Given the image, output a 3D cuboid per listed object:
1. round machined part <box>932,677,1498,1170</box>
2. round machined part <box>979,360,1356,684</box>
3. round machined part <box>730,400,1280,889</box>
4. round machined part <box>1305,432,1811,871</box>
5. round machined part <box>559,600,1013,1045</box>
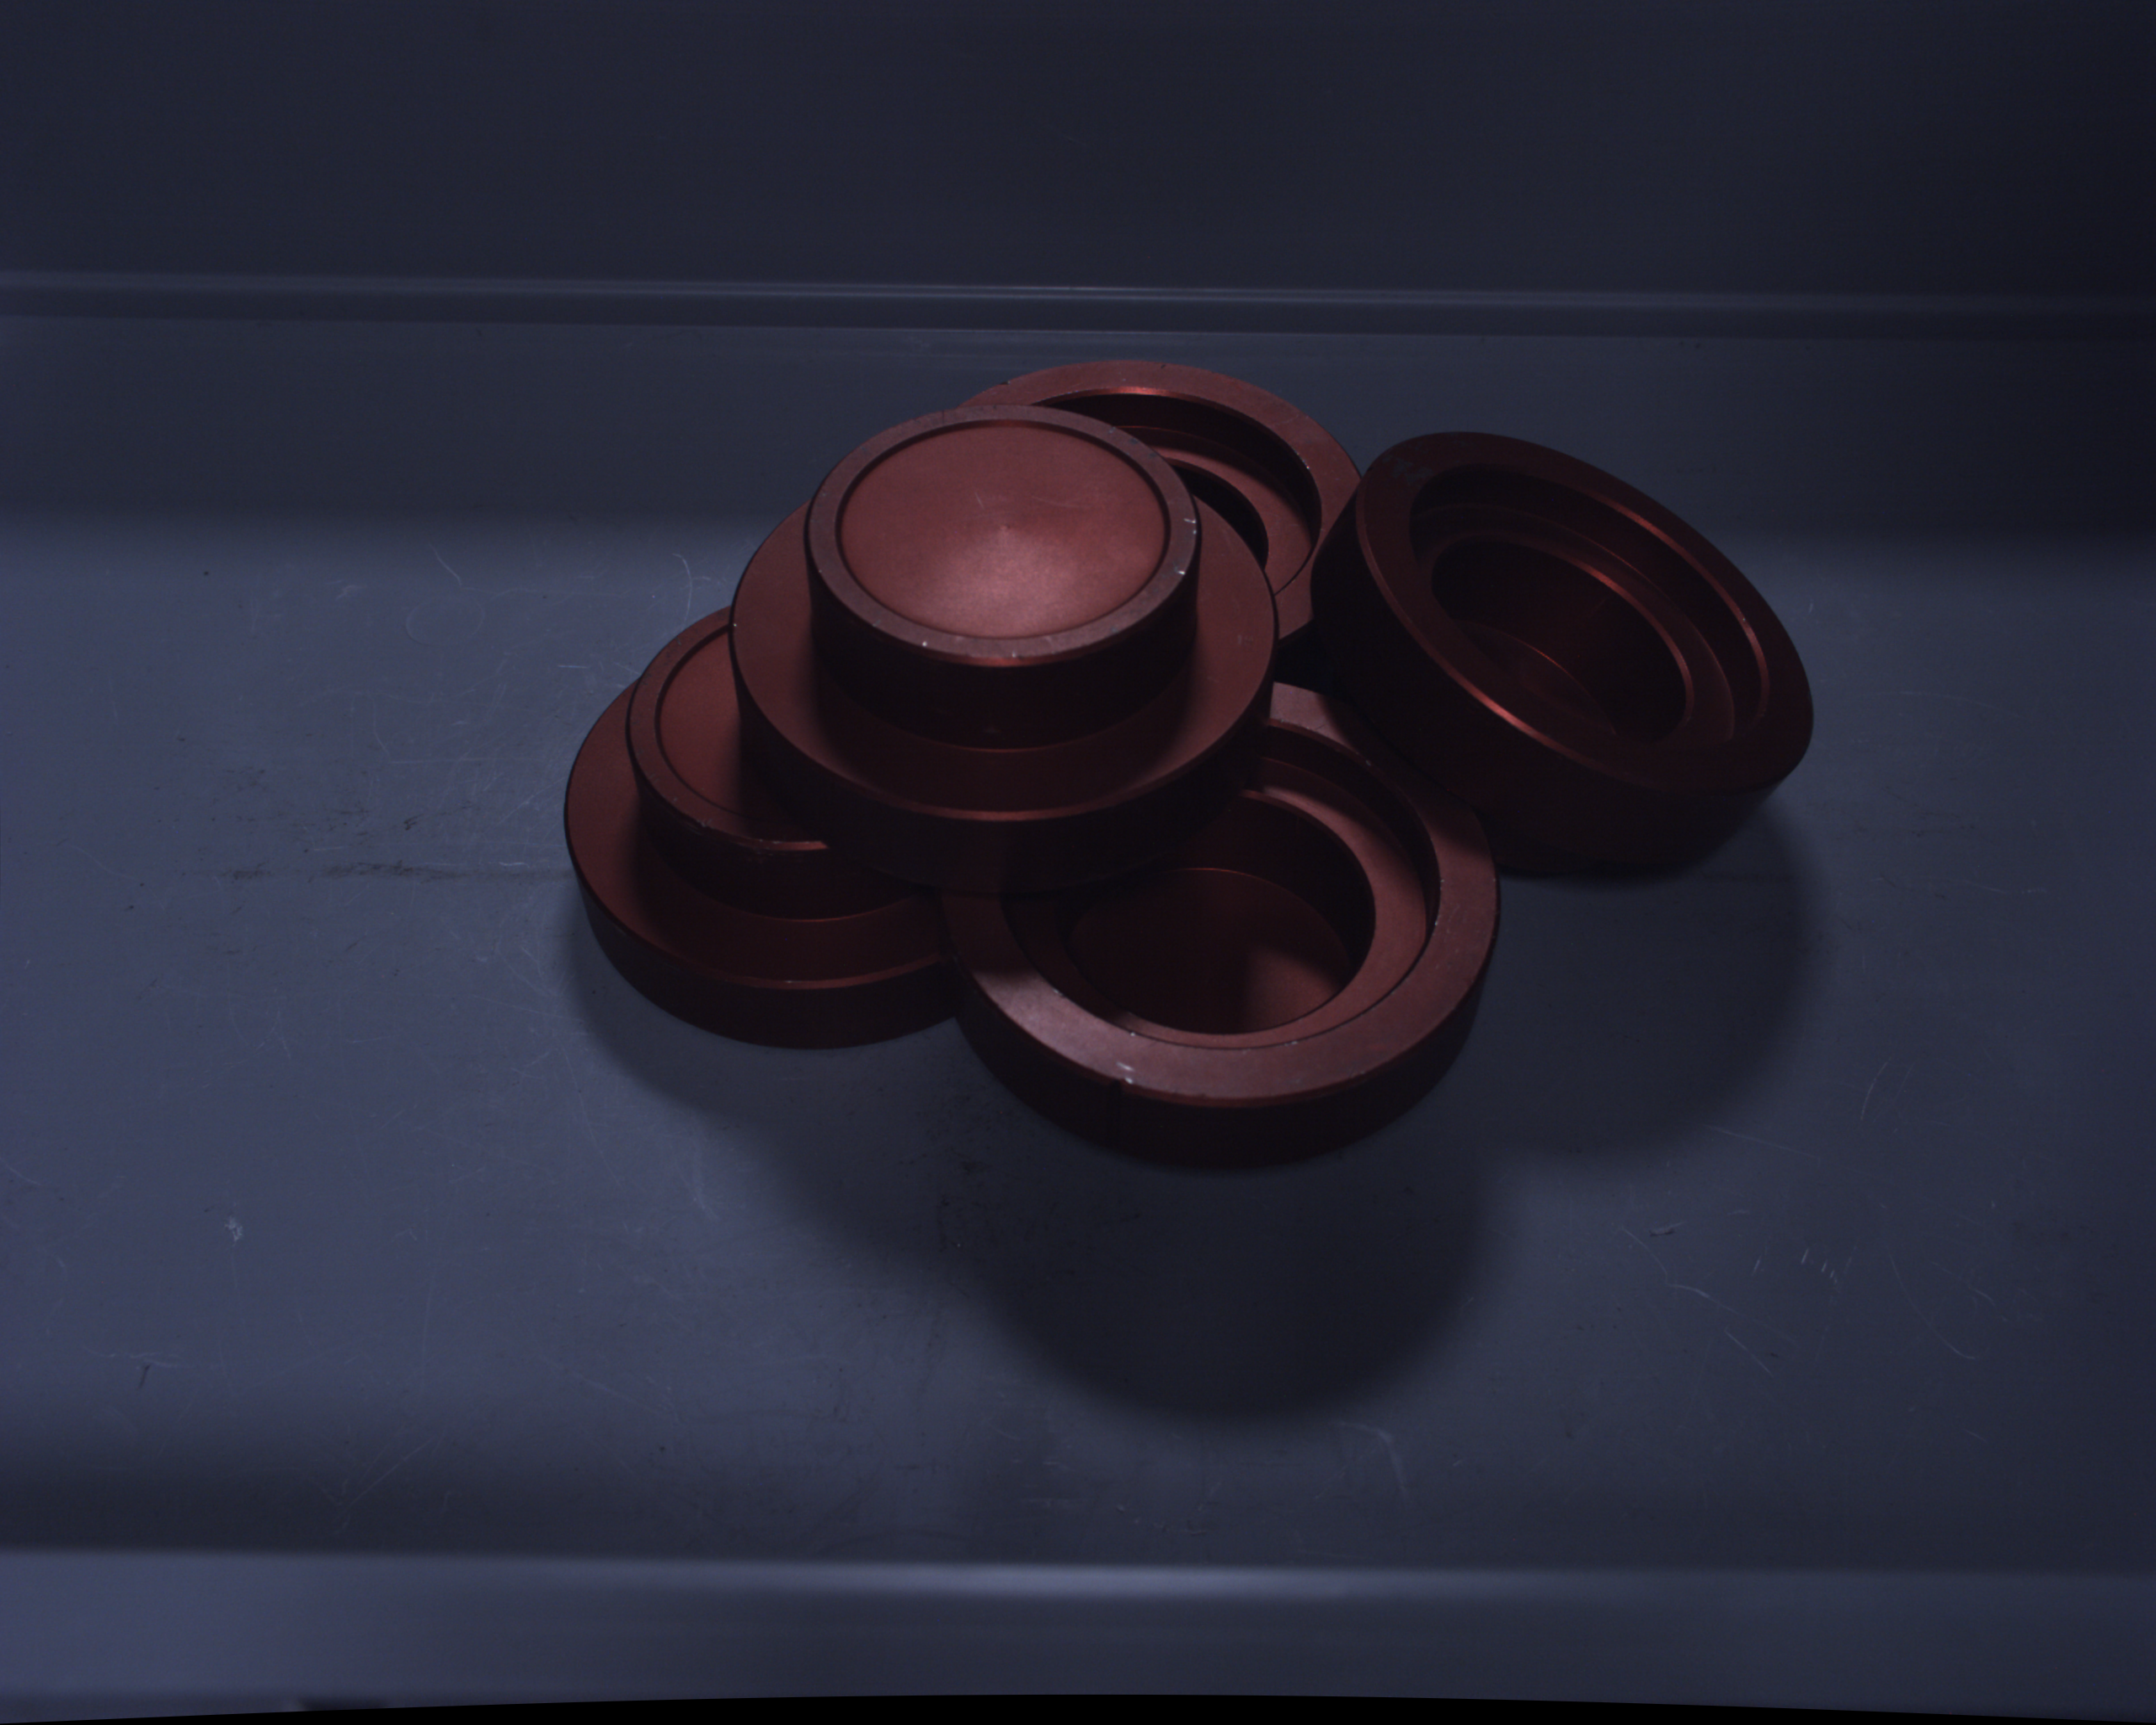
[{"bbox_3d":[0.024,0.014,0.380,0.099,0.042,0.098,0,50,0],"label":"round machined part"},{"bbox_3d":[0.011,-0.060,0.443,0.099,0.042,0.098,0,50,0],"label":"round machined part"},{"bbox_3d":[-0.013,-0.046,0.374,0.099,0.042,0.098,0,50,0],"label":"round machined part"},{"bbox_3d":[0.089,-0.037,0.410,0.099,0.042,0.098,14,45,-15],"label":"round machined part"},{"bbox_3d":[-0.050,-0.016,0.403,0.099,0.042,0.098,0,50,0],"label":"round machined part"}]
